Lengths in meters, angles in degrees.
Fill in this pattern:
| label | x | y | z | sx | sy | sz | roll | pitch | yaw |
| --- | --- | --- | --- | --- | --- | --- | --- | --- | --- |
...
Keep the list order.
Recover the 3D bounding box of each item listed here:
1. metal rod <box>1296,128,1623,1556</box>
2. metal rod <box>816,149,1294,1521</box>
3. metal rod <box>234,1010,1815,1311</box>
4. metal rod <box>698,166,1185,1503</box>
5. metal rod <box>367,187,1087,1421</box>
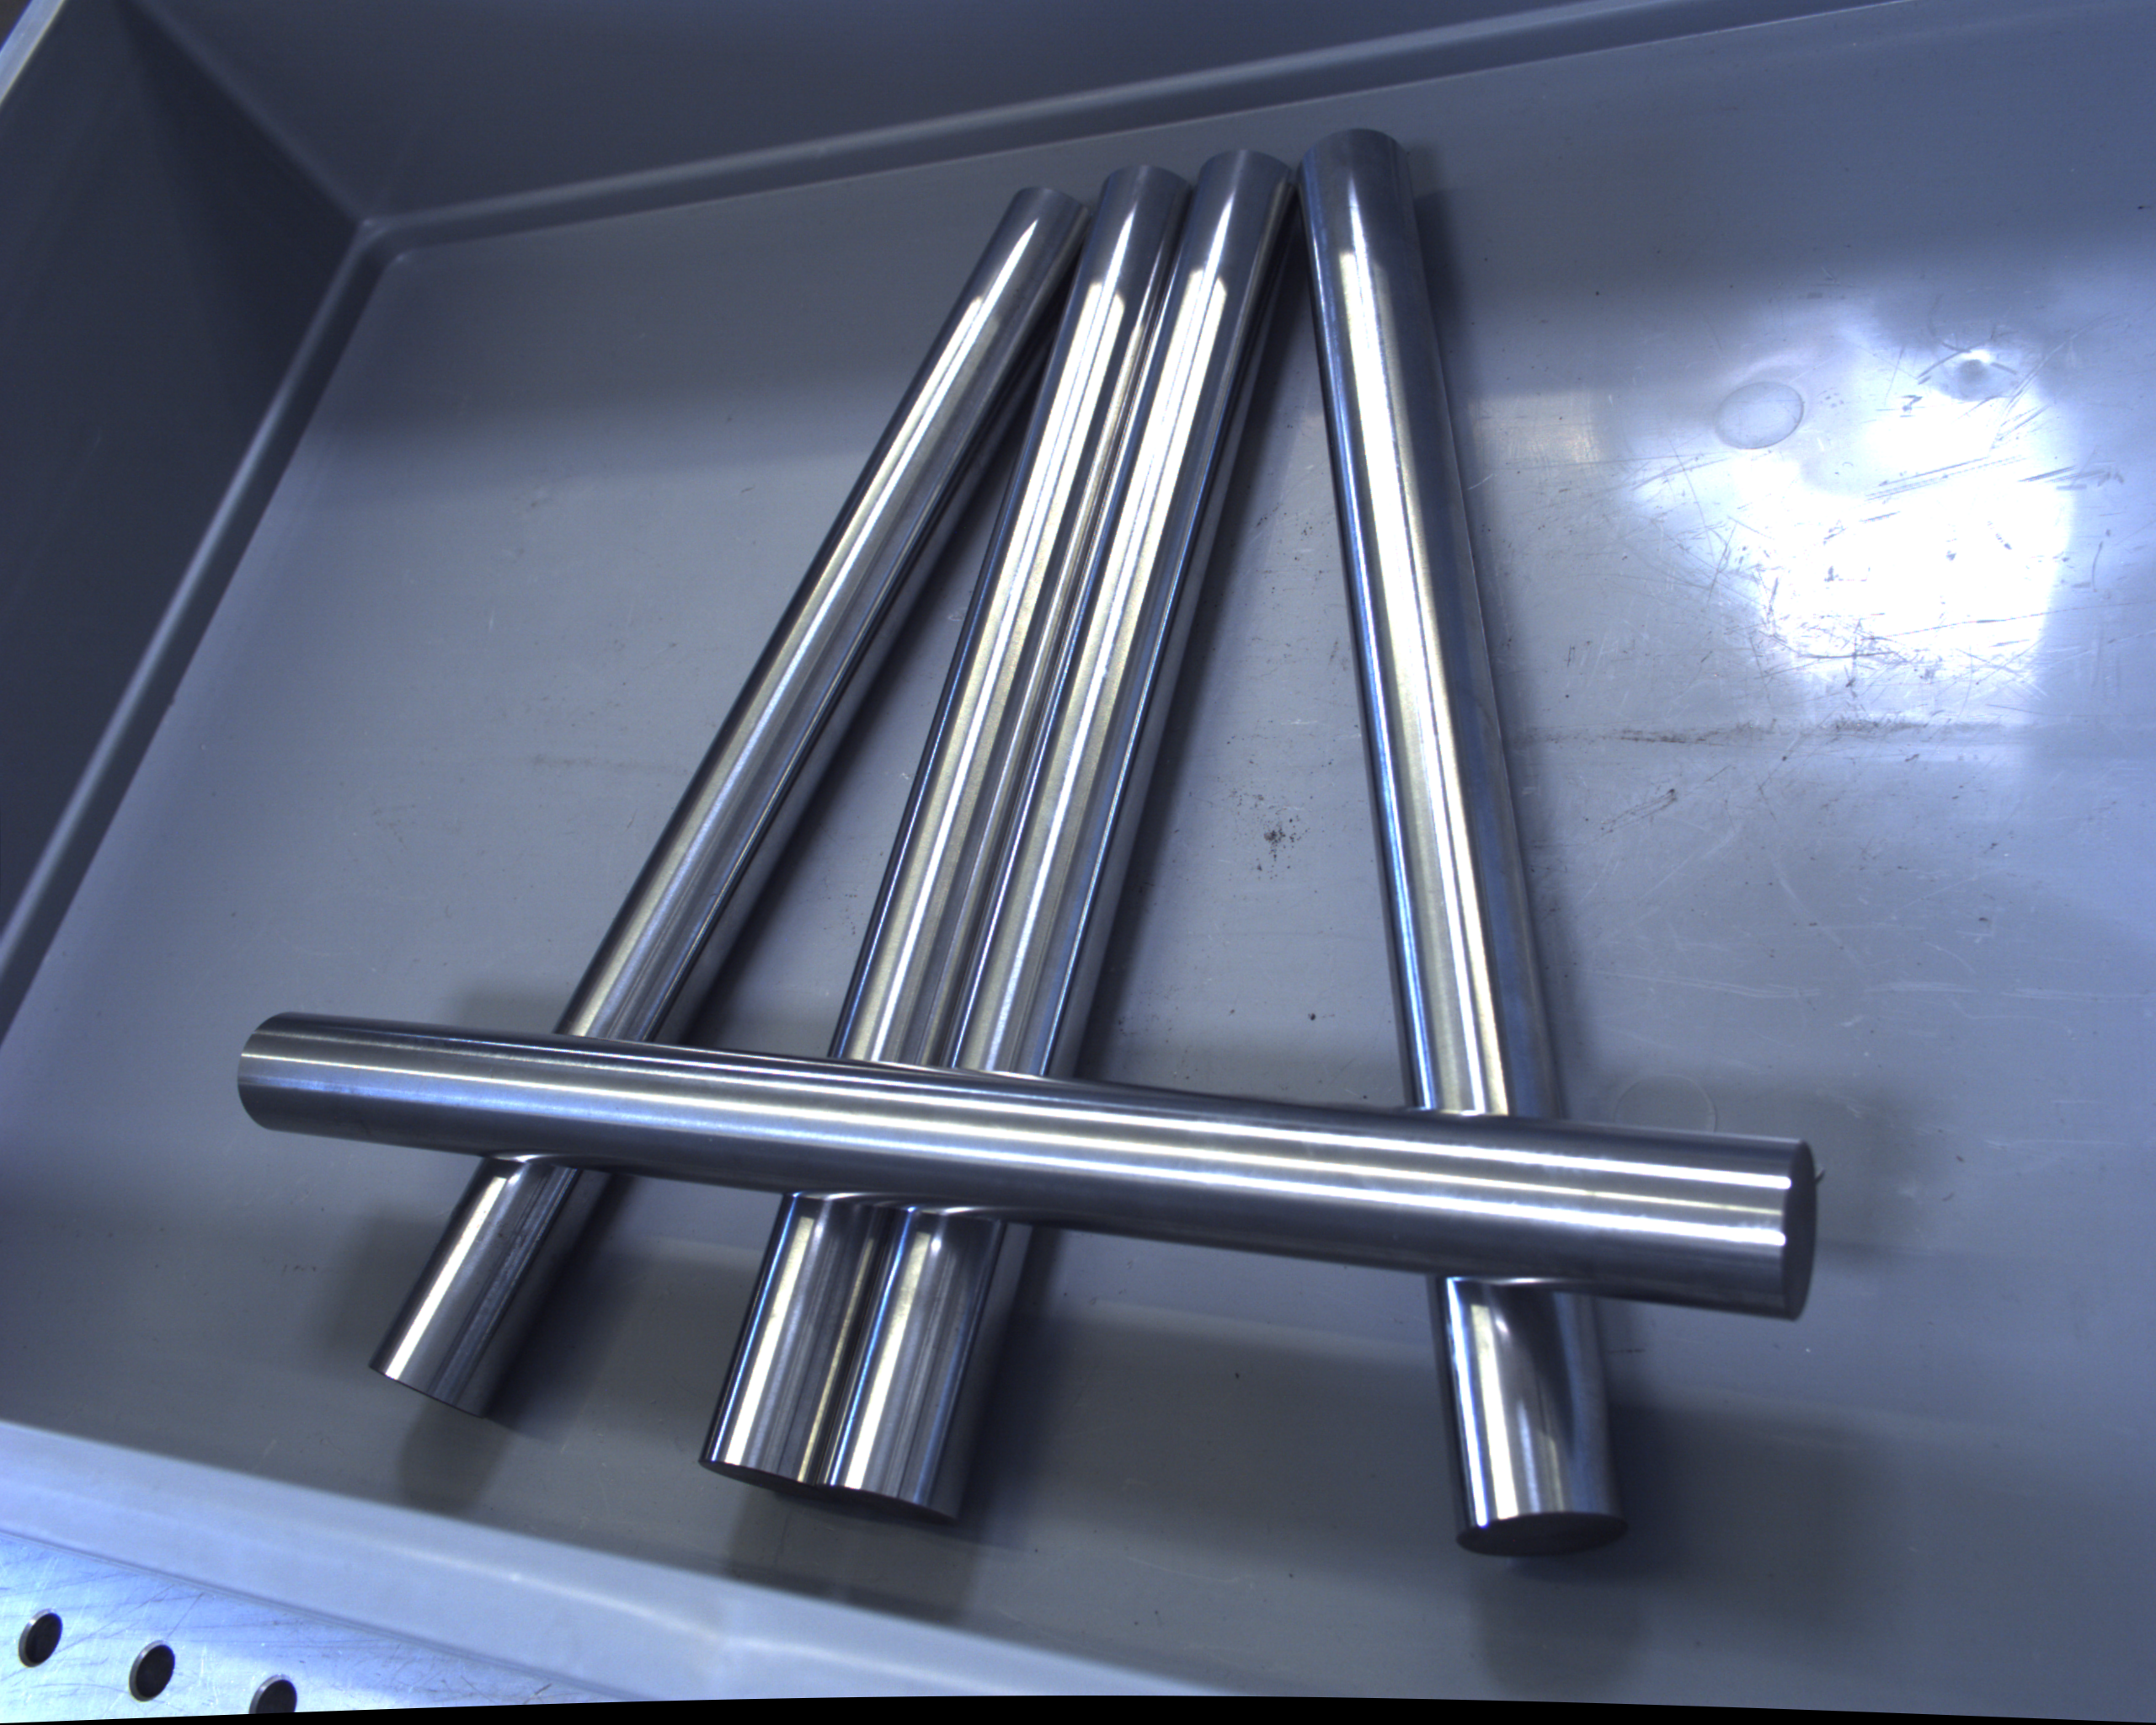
| label | x | y | z | sx | sy | sz | roll | pitch | yaw |
| --- | --- | --- | --- | --- | --- | --- | --- | --- | --- |
| metal rod | 0.064 | -0.027 | 0.387 | 0.025 | 0.025 | 0.299 | -15 | 56 | 20 |
| metal rod | 0.003 | -0.023 | 0.417 | 0.025 | 0.025 | 0.300 | 1 | 62 | 29 |
| metal rod | -0.032 | 0.046 | 0.360 | 0.300 | 0.025 | 0.025 | 1 | 63 | 29 |
| metal rod | -0.018 | -0.023 | 0.428 | 0.025 | 0.025 | 0.300 | 1 | 62 | 29 |
| metal rod | -0.066 | -0.025 | 0.454 | 0.025 | 0.025 | 0.300 | 13 | 68 | 33 |
